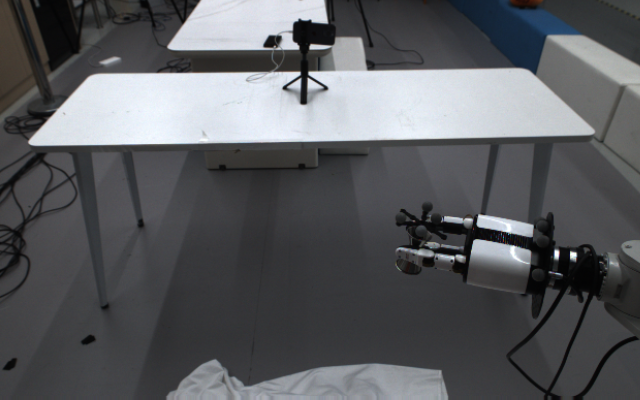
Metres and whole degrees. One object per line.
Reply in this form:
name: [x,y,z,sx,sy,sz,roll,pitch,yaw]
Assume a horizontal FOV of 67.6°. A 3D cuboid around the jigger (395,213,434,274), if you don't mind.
jigger: [0.149,0.079,0.775,0.043,0.071,0.043,10,30,-6]
